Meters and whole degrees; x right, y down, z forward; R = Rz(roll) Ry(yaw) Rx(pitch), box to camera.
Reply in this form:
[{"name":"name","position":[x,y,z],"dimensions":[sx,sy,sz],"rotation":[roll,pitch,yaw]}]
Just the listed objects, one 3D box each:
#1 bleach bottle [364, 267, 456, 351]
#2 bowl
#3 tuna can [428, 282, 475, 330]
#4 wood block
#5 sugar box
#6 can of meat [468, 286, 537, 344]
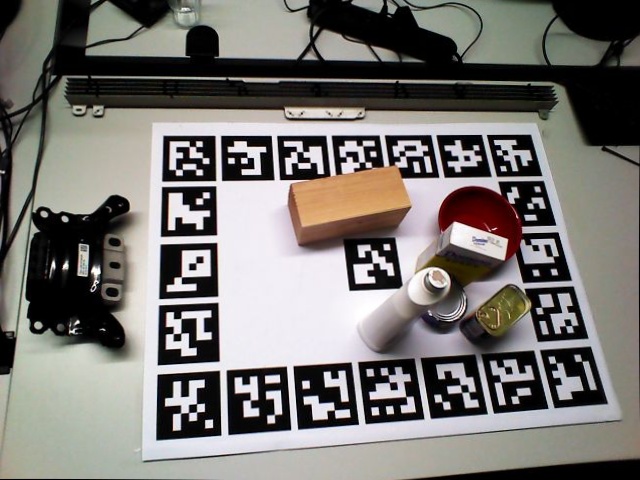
[{"name":"bleach bottle","position":[0.142,0.100,0.795],"dimensions":[0.102,0.252,0.068],"rotation":[-27,72,-17]},{"name":"bowl","position":[0.316,-0.023,0.974],"dimensions":[0.162,0.055,0.161],"rotation":[1,67,-3]},{"name":"tuna can","position":[0.226,0.115,0.913],"dimensions":[0.086,0.034,0.085],"rotation":[2,70,-6]},{"name":"wood block","position":[0.057,-0.062,0.942],"dimensions":[0.206,0.090,0.090],"rotation":[-11,73,-12]},{"name":"sugar box","position":[0.252,0.031,0.874],"dimensions":[0.093,0.177,0.045],"rotation":[17,68,3]},{"name":"can of meat","position":[0.315,0.129,0.899],"dimensions":[0.101,0.084,0.058],"rotation":[-31,72,-20]}]
